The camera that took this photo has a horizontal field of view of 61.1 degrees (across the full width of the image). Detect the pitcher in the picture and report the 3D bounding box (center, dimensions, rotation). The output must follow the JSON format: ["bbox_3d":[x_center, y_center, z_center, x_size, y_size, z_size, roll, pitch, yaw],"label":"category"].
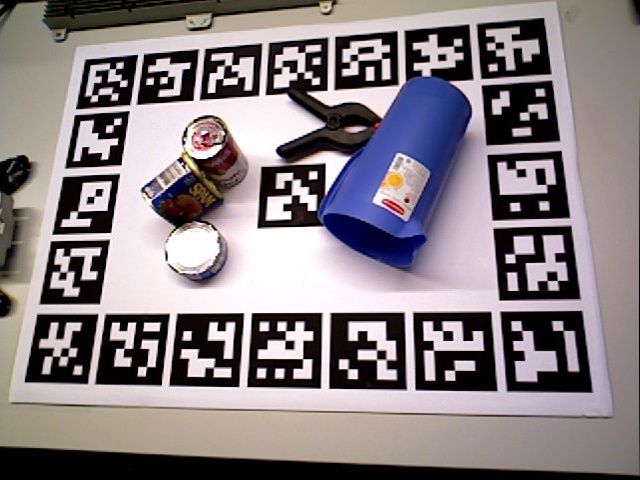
[{"bbox_3d":[0.103,-0.087,0.724,0.190,0.134,0.239,13,66,36],"label":"pitcher"}]

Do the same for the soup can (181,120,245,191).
[{"bbox_3d":[-0.158,-0.122,0.805,0.068,0.102,0.067,-4,73,11],"label":"soup can"}]

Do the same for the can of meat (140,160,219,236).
[{"bbox_3d":[-0.207,-0.057,0.789,0.084,0.102,0.057,-37,71,0],"label":"can of meat"}]

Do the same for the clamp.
[{"bbox_3d":[0.003,-0.168,0.833,0.165,0.037,0.120,1,69,7],"label":"clamp"}]

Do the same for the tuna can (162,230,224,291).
[{"bbox_3d":[-0.185,0.032,0.797,0.086,0.034,0.085,-3,74,9],"label":"tuna can"}]
